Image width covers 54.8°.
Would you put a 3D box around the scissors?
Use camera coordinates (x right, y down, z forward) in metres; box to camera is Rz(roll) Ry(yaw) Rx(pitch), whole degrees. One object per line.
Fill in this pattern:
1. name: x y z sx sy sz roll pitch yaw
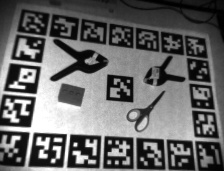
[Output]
1. scissors: 0.131 0.070 0.797 0.088 0.016 0.203 46 67 -4

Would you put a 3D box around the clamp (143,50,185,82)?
1. clamp: 0.199 -0.063 0.852 0.166 0.036 0.121 -22 85 -17

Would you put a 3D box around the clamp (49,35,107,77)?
1. clamp: -0.121 -0.103 0.790 0.204 0.036 0.165 2 69 -13

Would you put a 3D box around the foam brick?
1. foam brick: -0.143 0.022 0.739 0.078 0.051 0.052 12 71 -3
